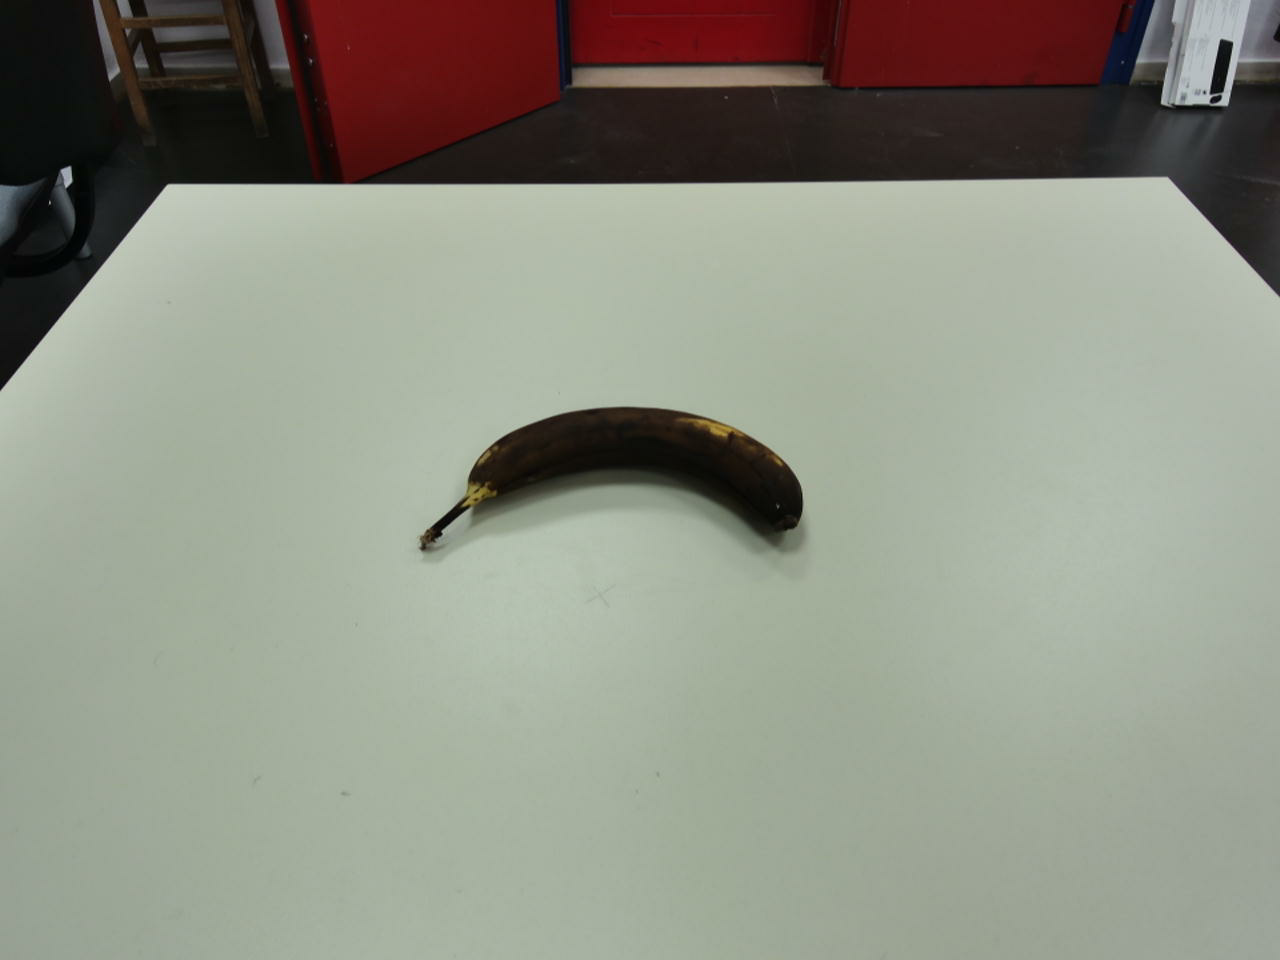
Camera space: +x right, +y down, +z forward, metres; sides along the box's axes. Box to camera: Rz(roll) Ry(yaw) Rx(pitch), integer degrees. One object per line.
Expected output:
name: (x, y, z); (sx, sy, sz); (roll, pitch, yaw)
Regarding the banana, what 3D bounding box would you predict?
banana: (-0.013, -0.006, 0.510); (0.188, 0.034, 0.091); (0, 39, 1)
